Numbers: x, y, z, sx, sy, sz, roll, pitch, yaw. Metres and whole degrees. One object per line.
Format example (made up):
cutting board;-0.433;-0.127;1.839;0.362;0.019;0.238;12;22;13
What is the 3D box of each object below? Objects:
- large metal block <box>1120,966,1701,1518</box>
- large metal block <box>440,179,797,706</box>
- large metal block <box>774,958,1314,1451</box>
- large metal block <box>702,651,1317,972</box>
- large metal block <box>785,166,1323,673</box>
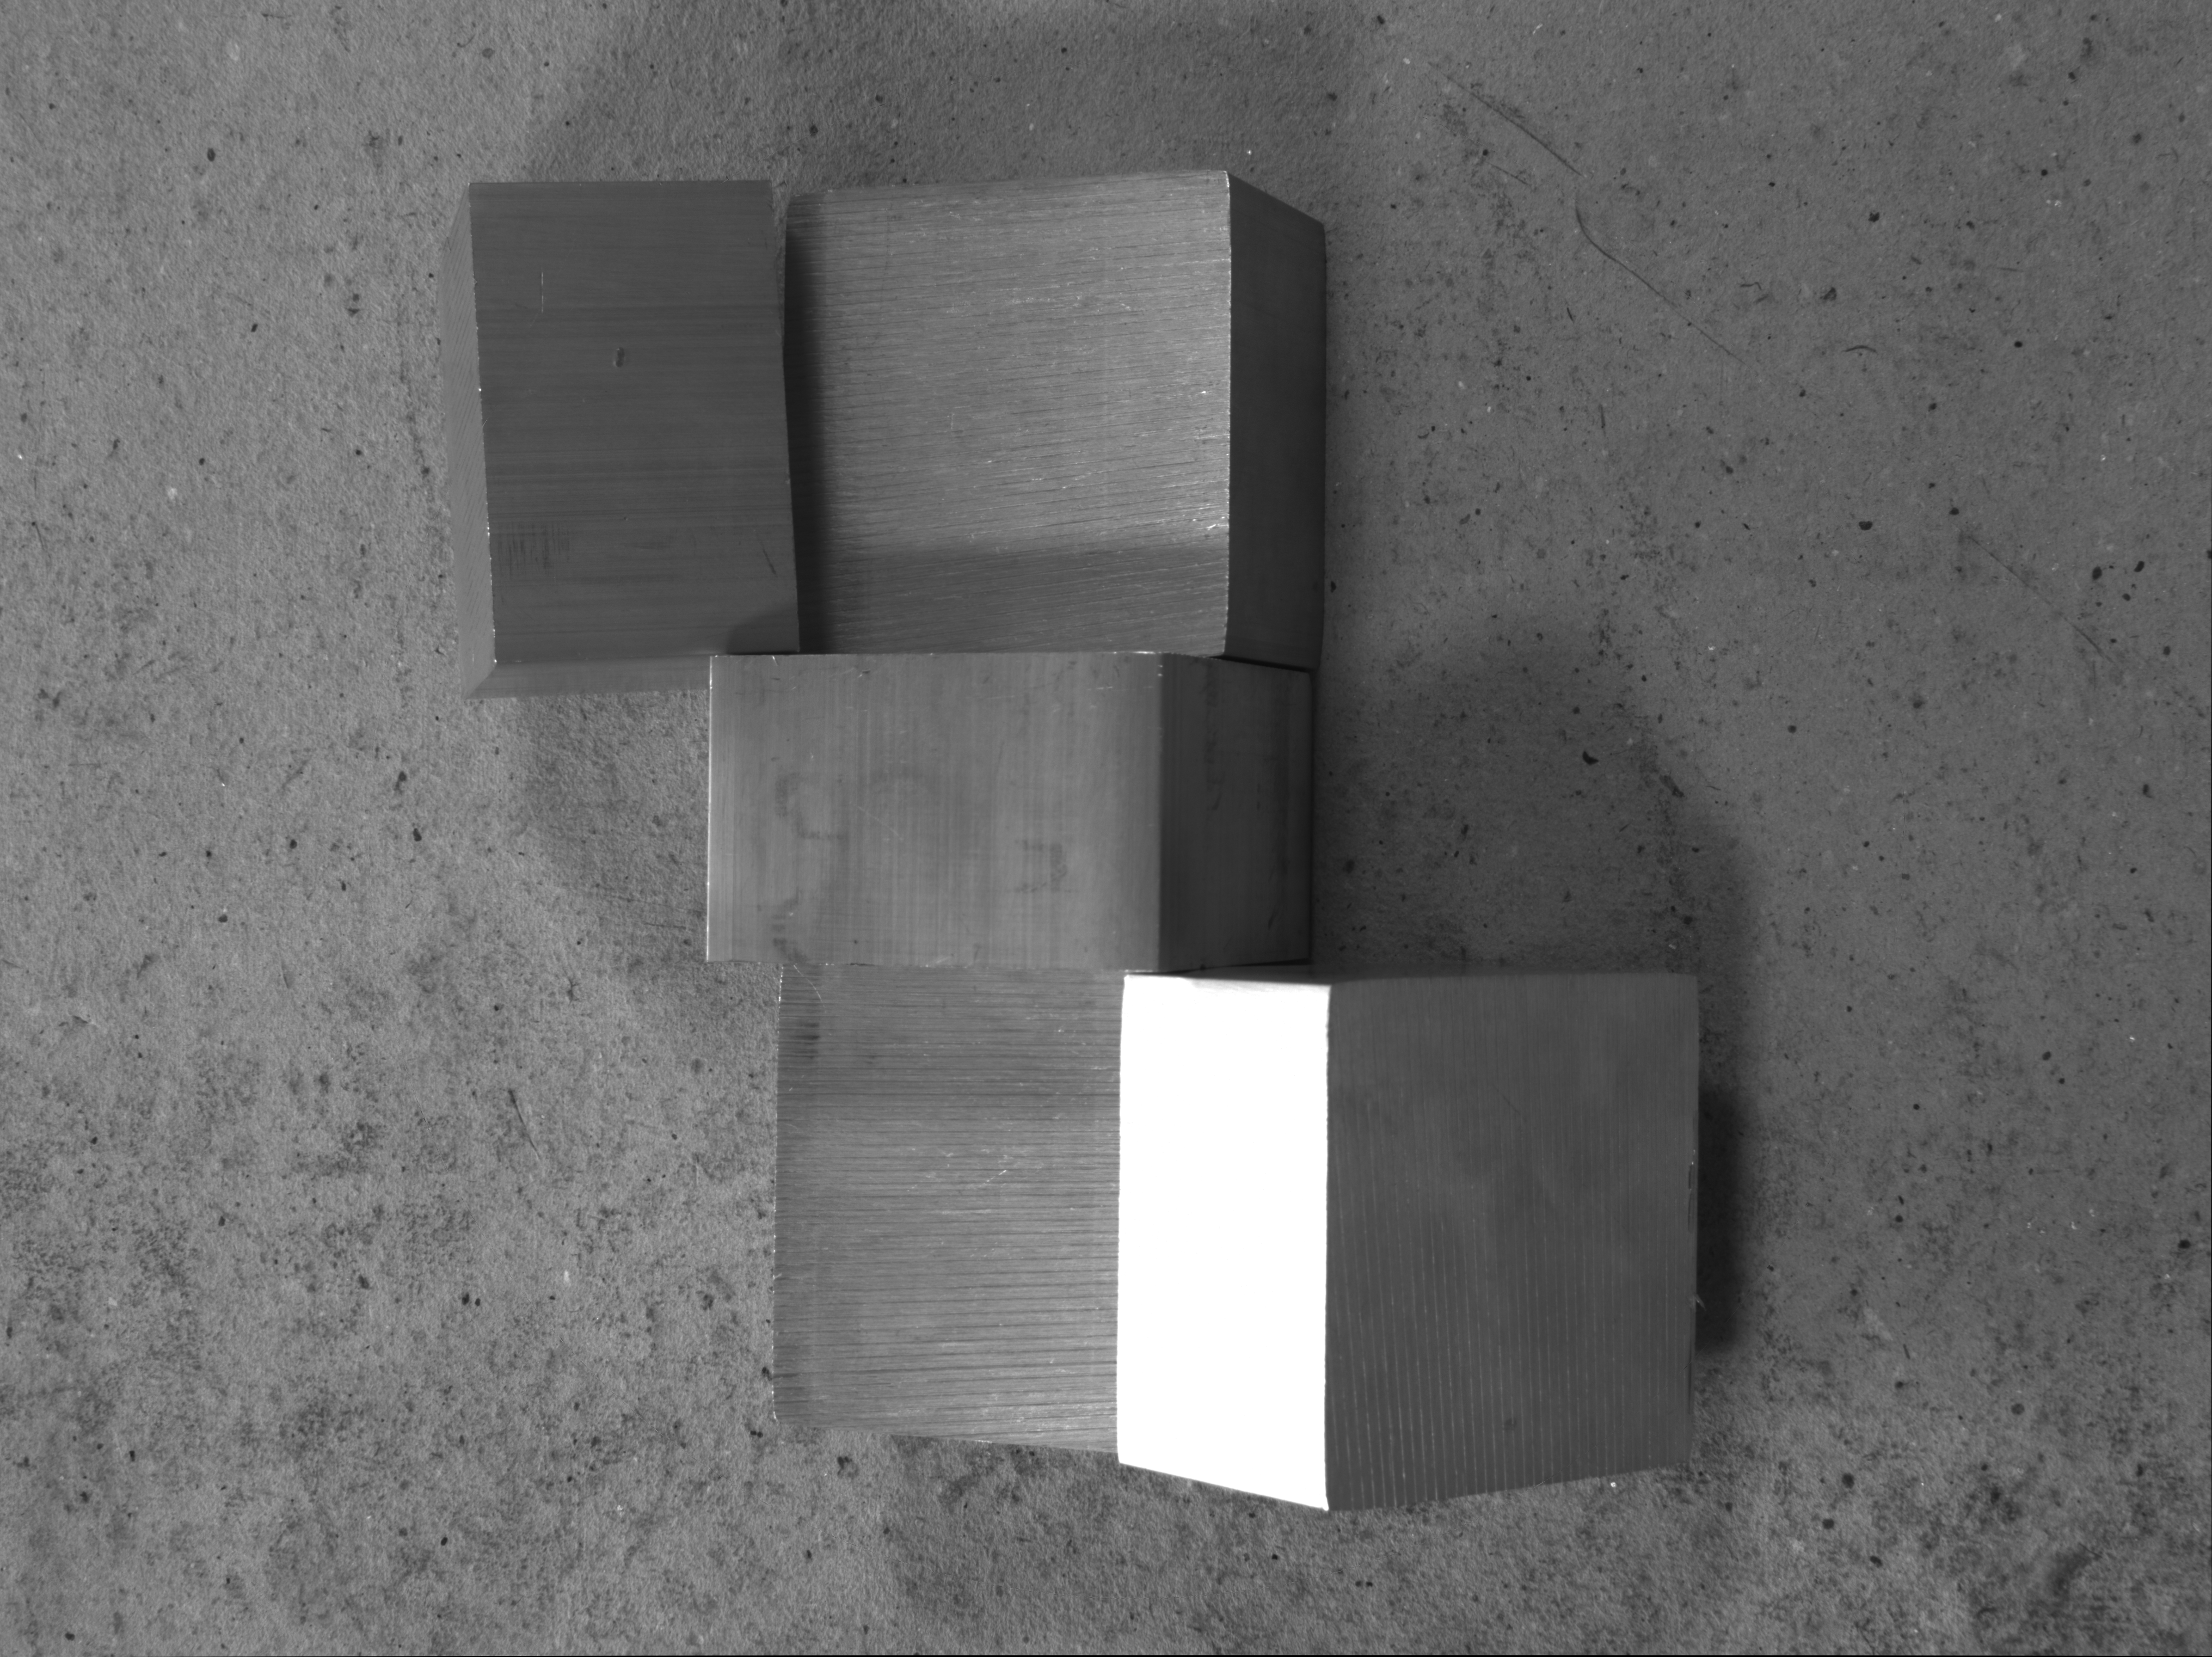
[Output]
large metal block;0.049;0.063;0.591;0.050;0.080;0.080;0;90;52
large metal block;-0.087;-0.065;0.641;0.050;0.080;0.080;-3;88;-14
large metal block;-0.010;0.062;0.637;0.080;0.050;0.080;1;91;20
large metal block;-0.014;-0.003;0.622;0.080;0.080;0.050;0;90;20
large metal block;-0.009;-0.068;0.634;0.080;0.050;0.080;1;90;20
